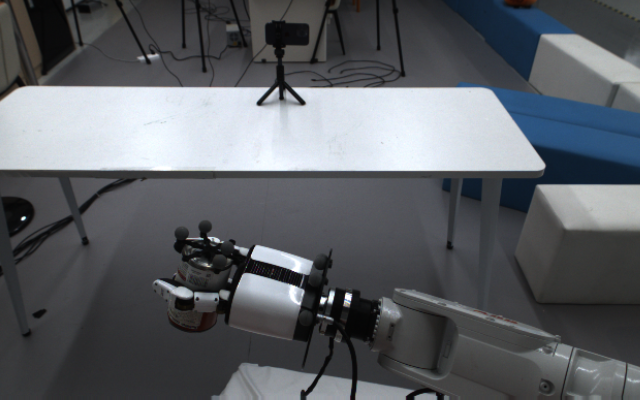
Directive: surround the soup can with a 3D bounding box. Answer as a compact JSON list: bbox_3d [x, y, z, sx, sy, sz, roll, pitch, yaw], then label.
[{"bbox_3d":[-0.156,0.114,0.631,0.067,0.101,0.067,17,21,-7],"label":"soup can"}]
